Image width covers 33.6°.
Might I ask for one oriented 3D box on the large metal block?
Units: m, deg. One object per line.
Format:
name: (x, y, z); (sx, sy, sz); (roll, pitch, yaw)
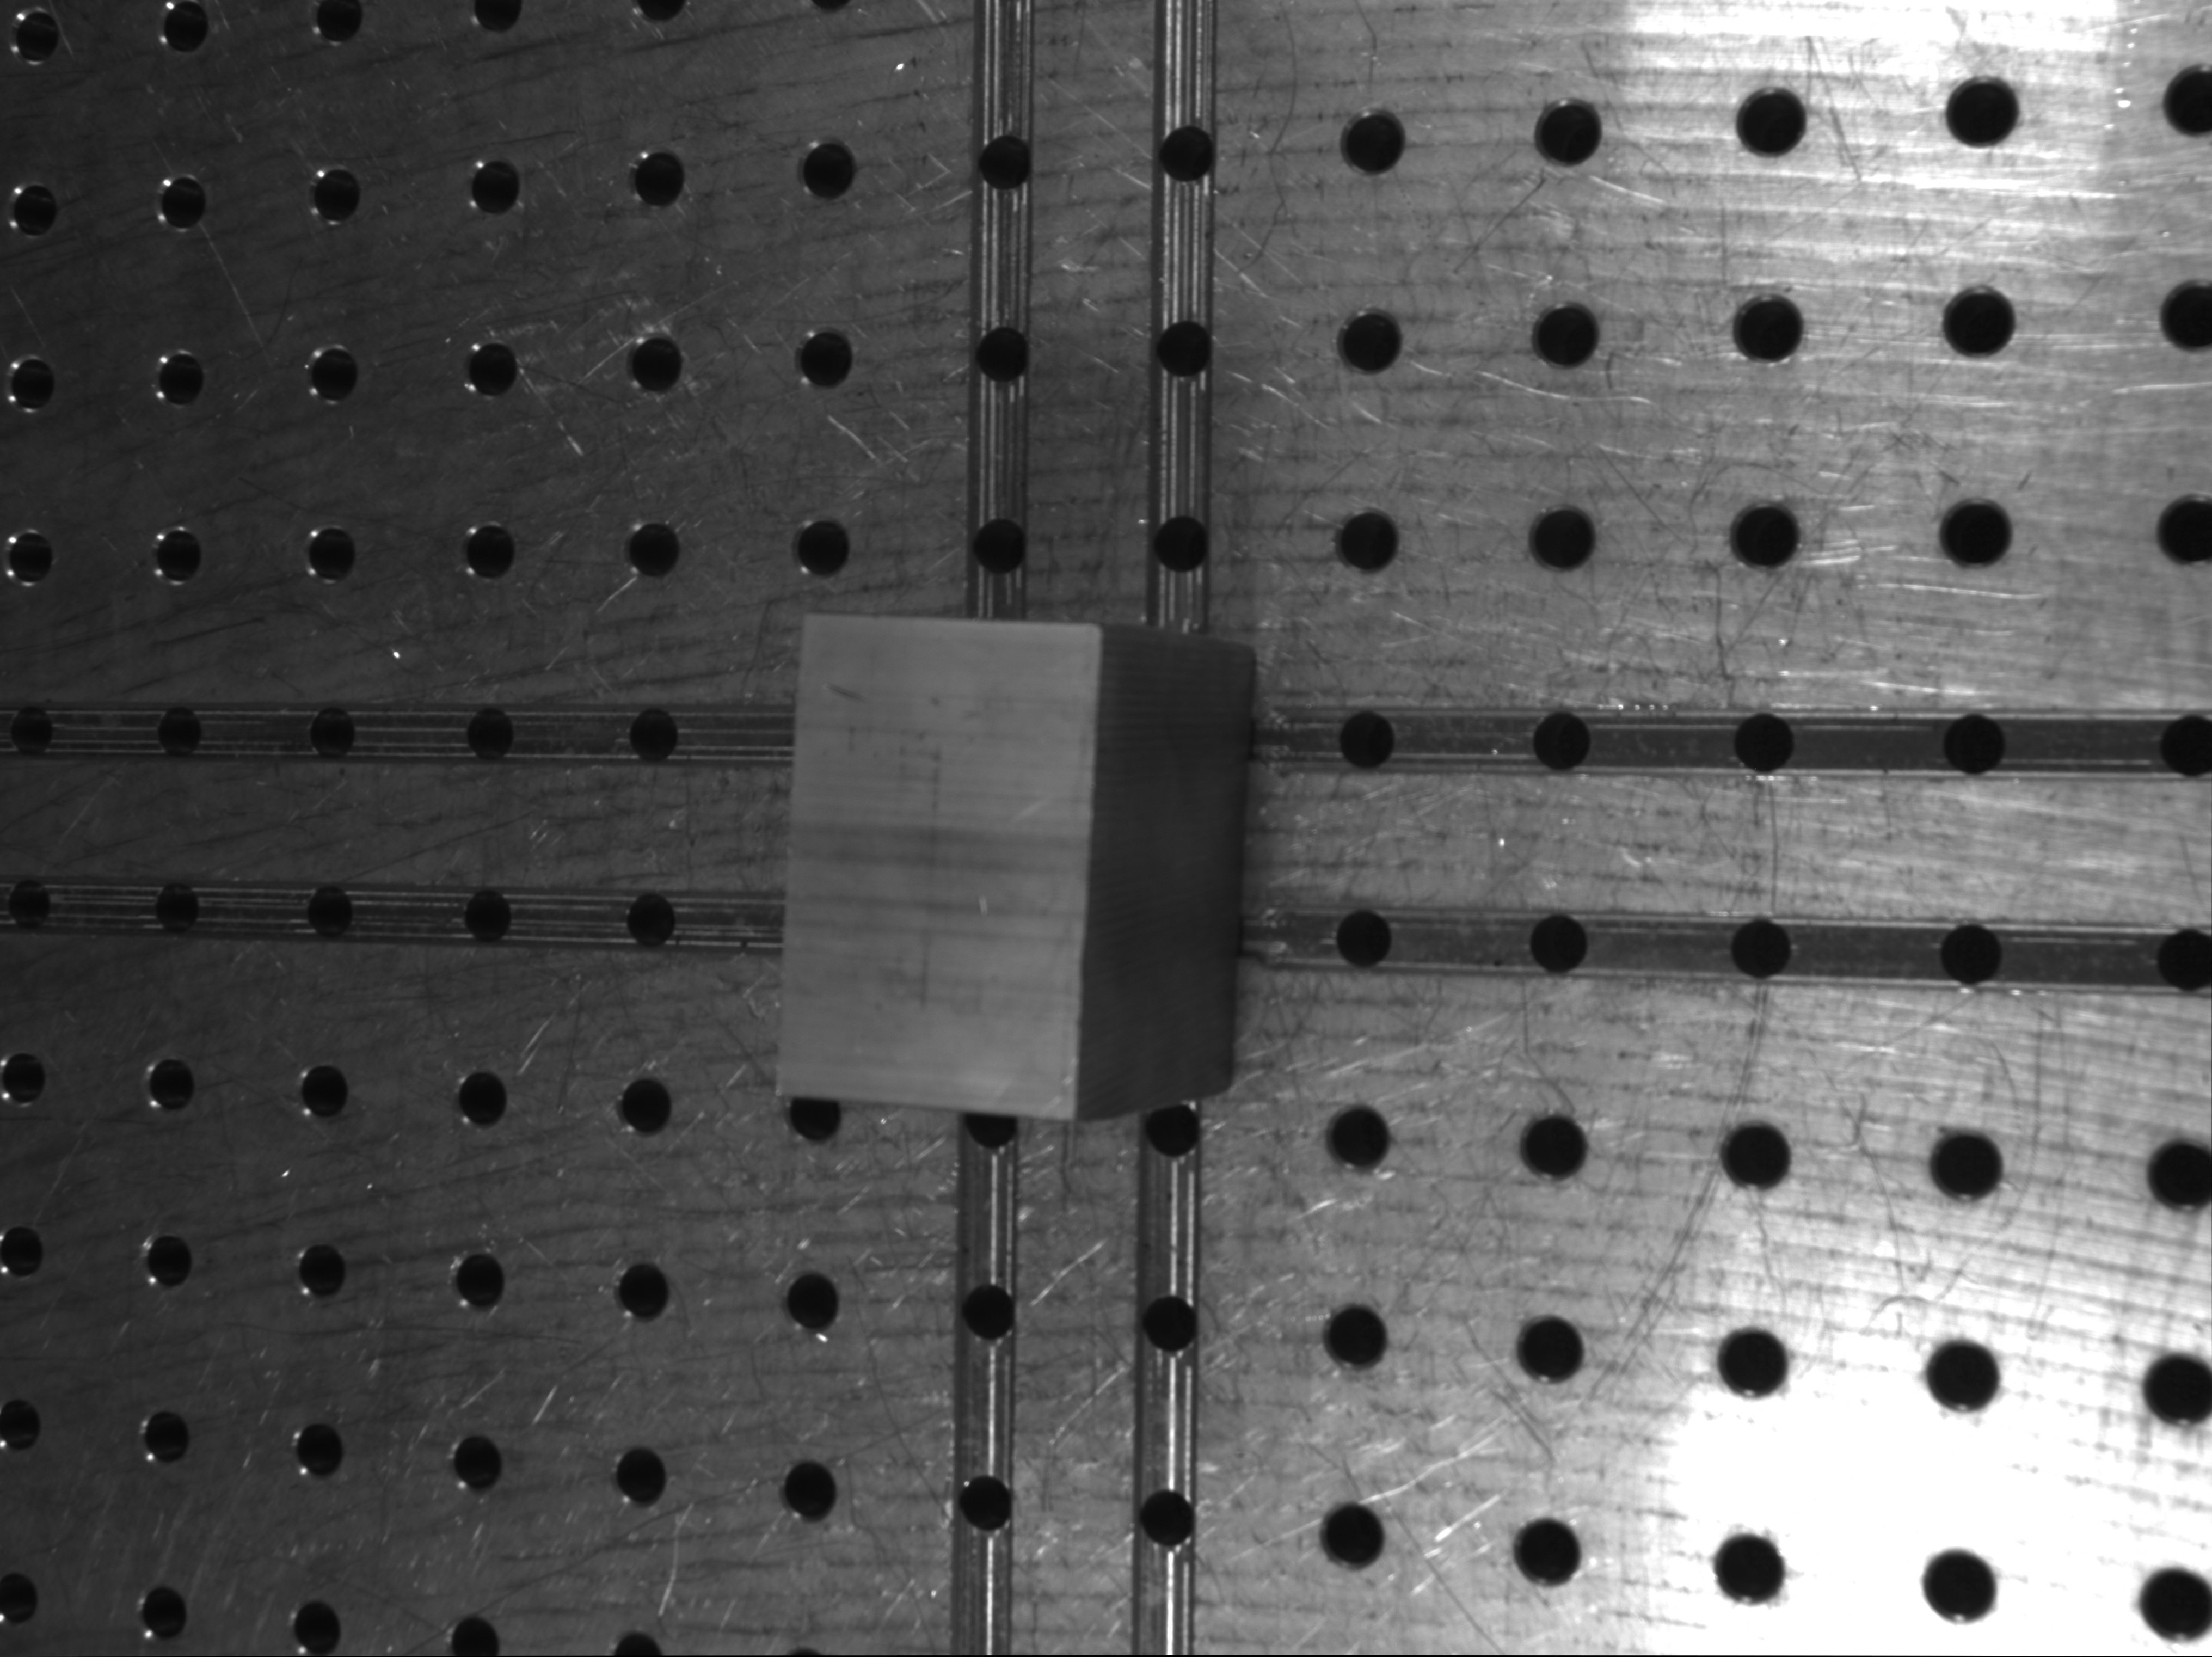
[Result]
large metal block: (-0.014, 0.006, 0.622); (0.050, 0.080, 0.080); (4, 91, 20)
